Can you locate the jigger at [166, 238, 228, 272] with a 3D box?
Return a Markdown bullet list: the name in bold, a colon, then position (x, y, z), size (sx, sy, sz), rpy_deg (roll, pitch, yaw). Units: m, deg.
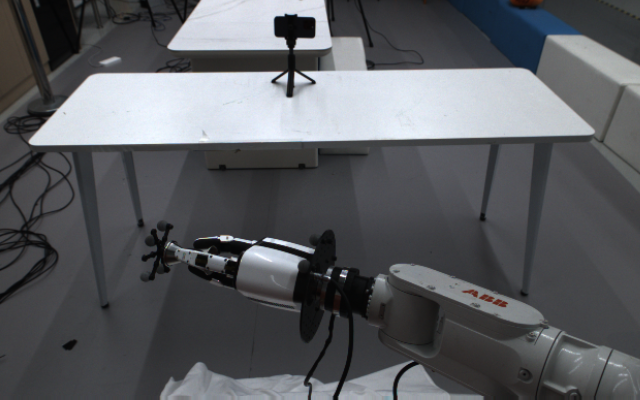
- **jigger**: position (-0.187, 0.083, 0.721), size (0.071, 0.043, 0.043), rpy_deg (8, 35, 13)
